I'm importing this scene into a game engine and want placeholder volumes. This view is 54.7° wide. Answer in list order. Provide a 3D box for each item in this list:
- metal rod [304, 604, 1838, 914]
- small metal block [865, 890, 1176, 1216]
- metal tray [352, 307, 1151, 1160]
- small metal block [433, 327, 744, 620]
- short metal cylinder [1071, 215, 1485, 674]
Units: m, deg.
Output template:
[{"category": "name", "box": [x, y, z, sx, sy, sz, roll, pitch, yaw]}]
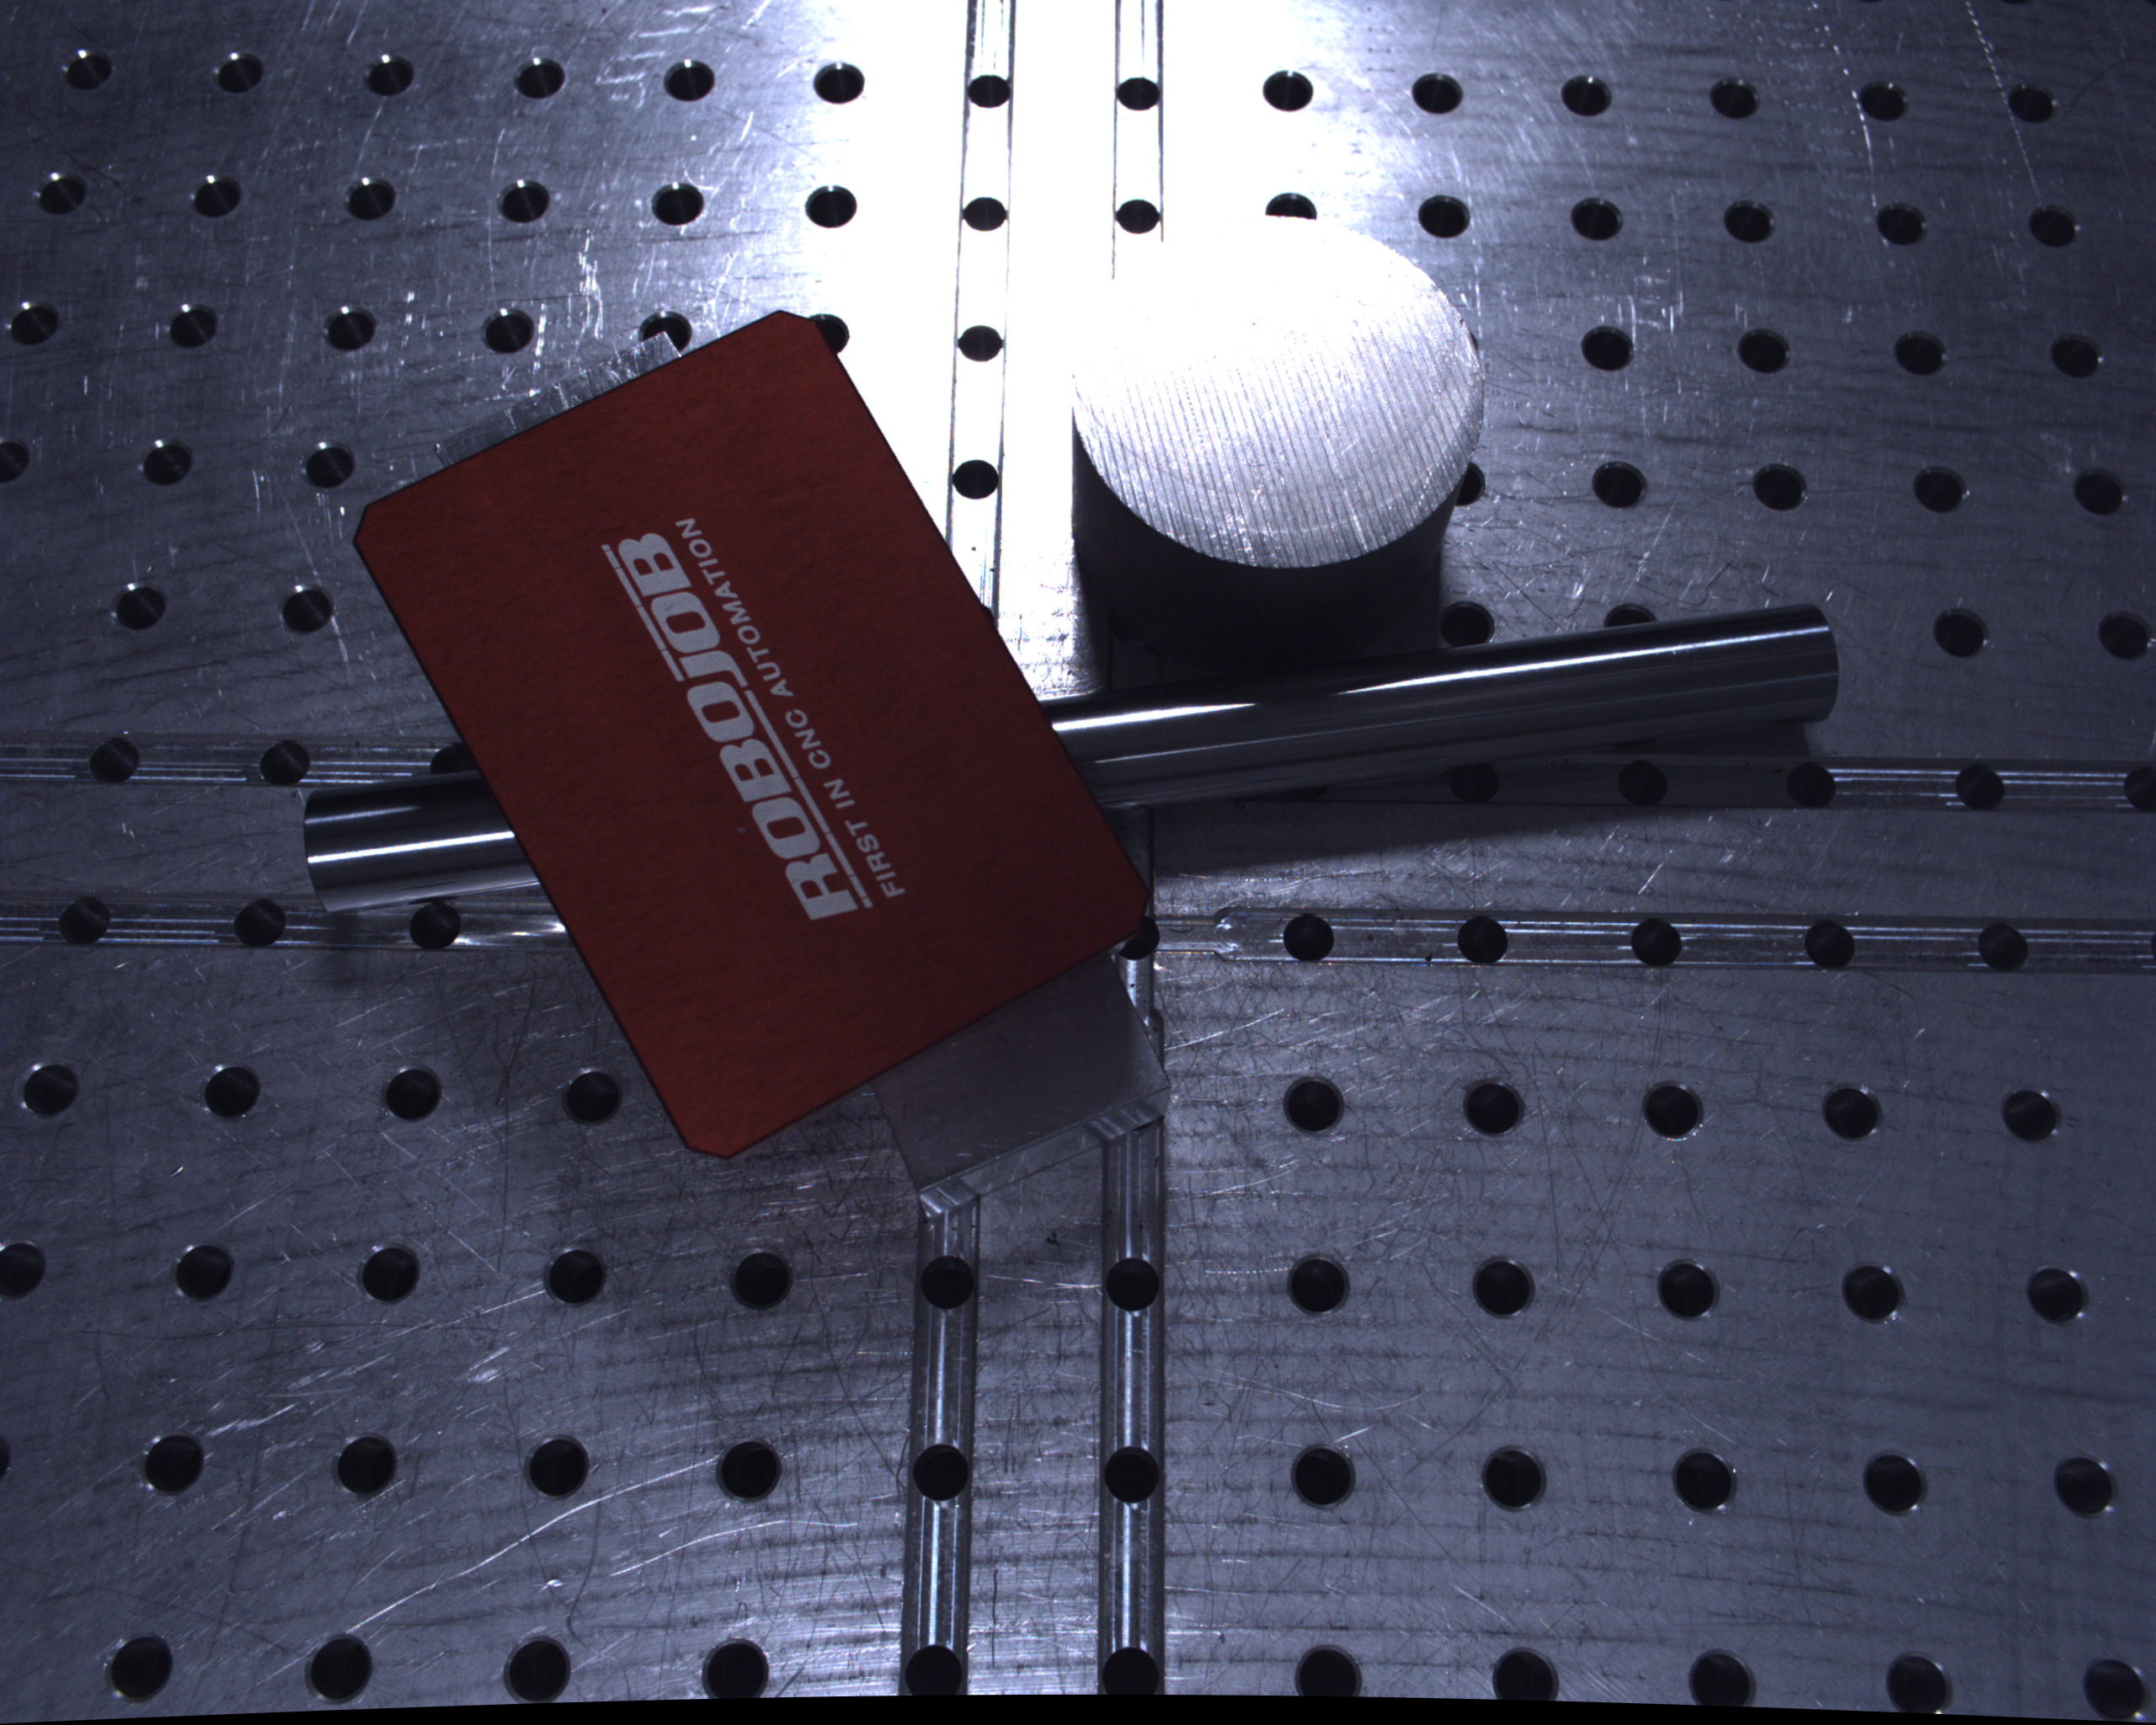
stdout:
[{"category": "metal rod", "box": [0.001, -0.022, 0.420, 0.302, 0.025, 0.025, -7, 70, -3]}, {"category": "small metal block", "box": [-0.015, 0.033, 0.398, 0.050, 0.025, 0.050, -22, 72, -8]}, {"category": "metal tray", "box": [-0.058, -0.023, 0.376, 0.090, 0.030, 0.130, -29, 84, -10]}, {"category": "small metal block", "box": [-0.096, -0.074, 0.424, 0.050, 0.050, 0.025, -30, 73, -11]}, {"category": "short metal cylinder", "box": [0.039, -0.084, 0.429, 0.081, 0.050, 0.080, 0, 70, 0]}]
